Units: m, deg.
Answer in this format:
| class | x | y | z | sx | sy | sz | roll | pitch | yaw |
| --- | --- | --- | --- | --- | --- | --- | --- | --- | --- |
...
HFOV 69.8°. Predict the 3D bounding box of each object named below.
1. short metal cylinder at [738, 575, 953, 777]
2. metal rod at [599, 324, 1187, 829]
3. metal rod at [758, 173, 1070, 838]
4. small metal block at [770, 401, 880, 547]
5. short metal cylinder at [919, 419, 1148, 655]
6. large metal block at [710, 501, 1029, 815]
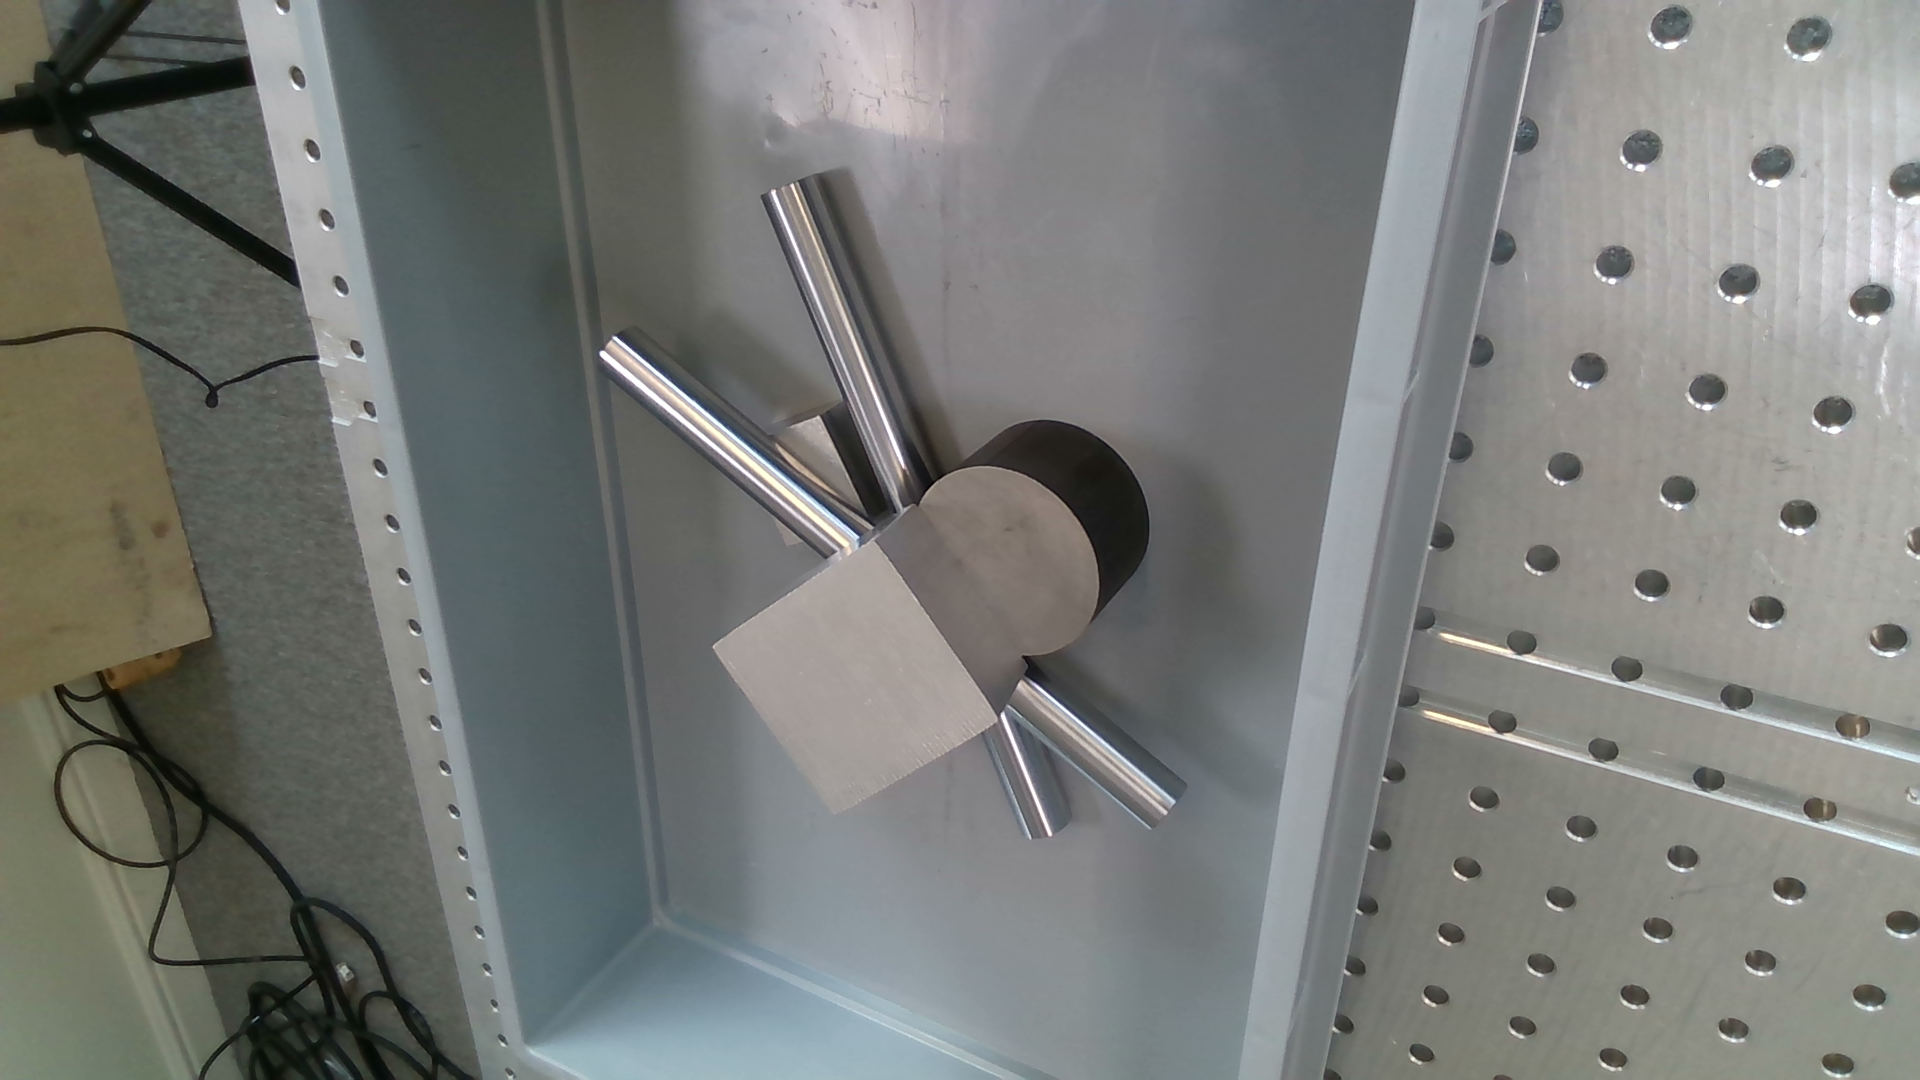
| class | x | y | z | sx | sy | sz | roll | pitch | yaw |
| --- | --- | --- | --- | --- | --- | --- | --- | --- | --- |
| short metal cylinder | -0.050 | 0.060 | 0.607 | 0.080 | 0.080 | 0.050 | -34 | 94 | 39 |
| metal rod | -0.031 | 0.012 | 0.573 | 0.300 | 0.025 | 0.025 | 40 | 129 | 7 |
| metal rod | -0.015 | -0.006 | 0.584 | 0.025 | 0.025 | 0.300 | -10 | 109 | 35 |
| small metal block | -0.063 | -0.030 | 0.601 | 0.050 | 0.025 | 0.050 | -16 | 106 | 36 |
| short metal cylinder | 0.028 | -0.002 | 0.545 | 0.080 | 0.050 | 0.080 | 14 | 122 | 25 |
| large metal block | -0.033 | 0.045 | 0.526 | 0.080 | 0.050 | 0.080 | -32 | 96 | 22 |
